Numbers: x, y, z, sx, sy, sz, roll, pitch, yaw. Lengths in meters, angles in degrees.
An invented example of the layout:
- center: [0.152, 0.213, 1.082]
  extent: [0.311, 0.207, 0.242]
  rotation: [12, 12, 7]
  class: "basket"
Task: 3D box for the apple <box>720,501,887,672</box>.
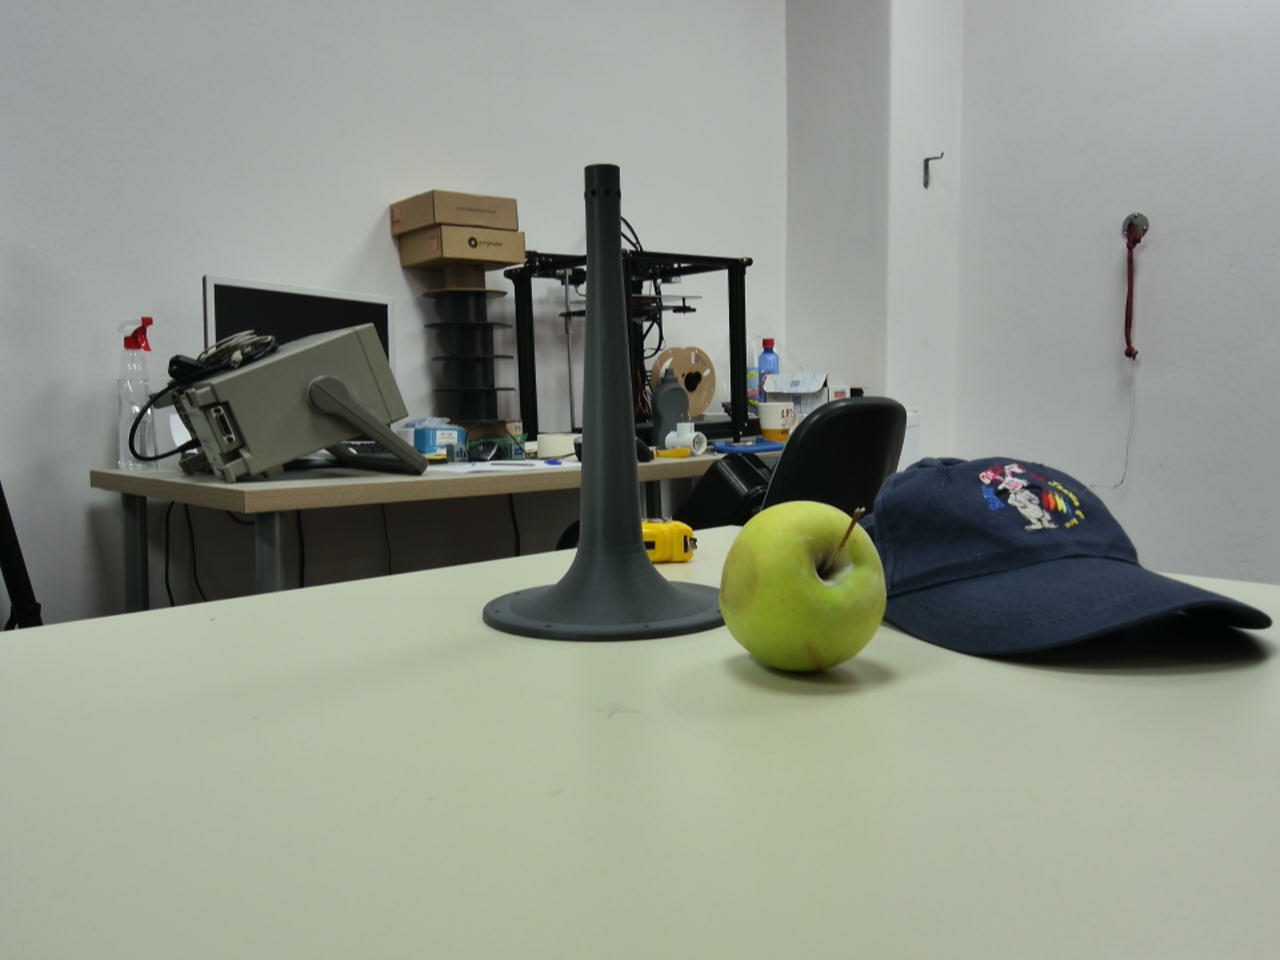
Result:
- center: [0.073, 0.048, 0.454]
  extent: [0.072, 0.075, 0.077]
  rotation: [0, 3, 3]
  class: "apple"
